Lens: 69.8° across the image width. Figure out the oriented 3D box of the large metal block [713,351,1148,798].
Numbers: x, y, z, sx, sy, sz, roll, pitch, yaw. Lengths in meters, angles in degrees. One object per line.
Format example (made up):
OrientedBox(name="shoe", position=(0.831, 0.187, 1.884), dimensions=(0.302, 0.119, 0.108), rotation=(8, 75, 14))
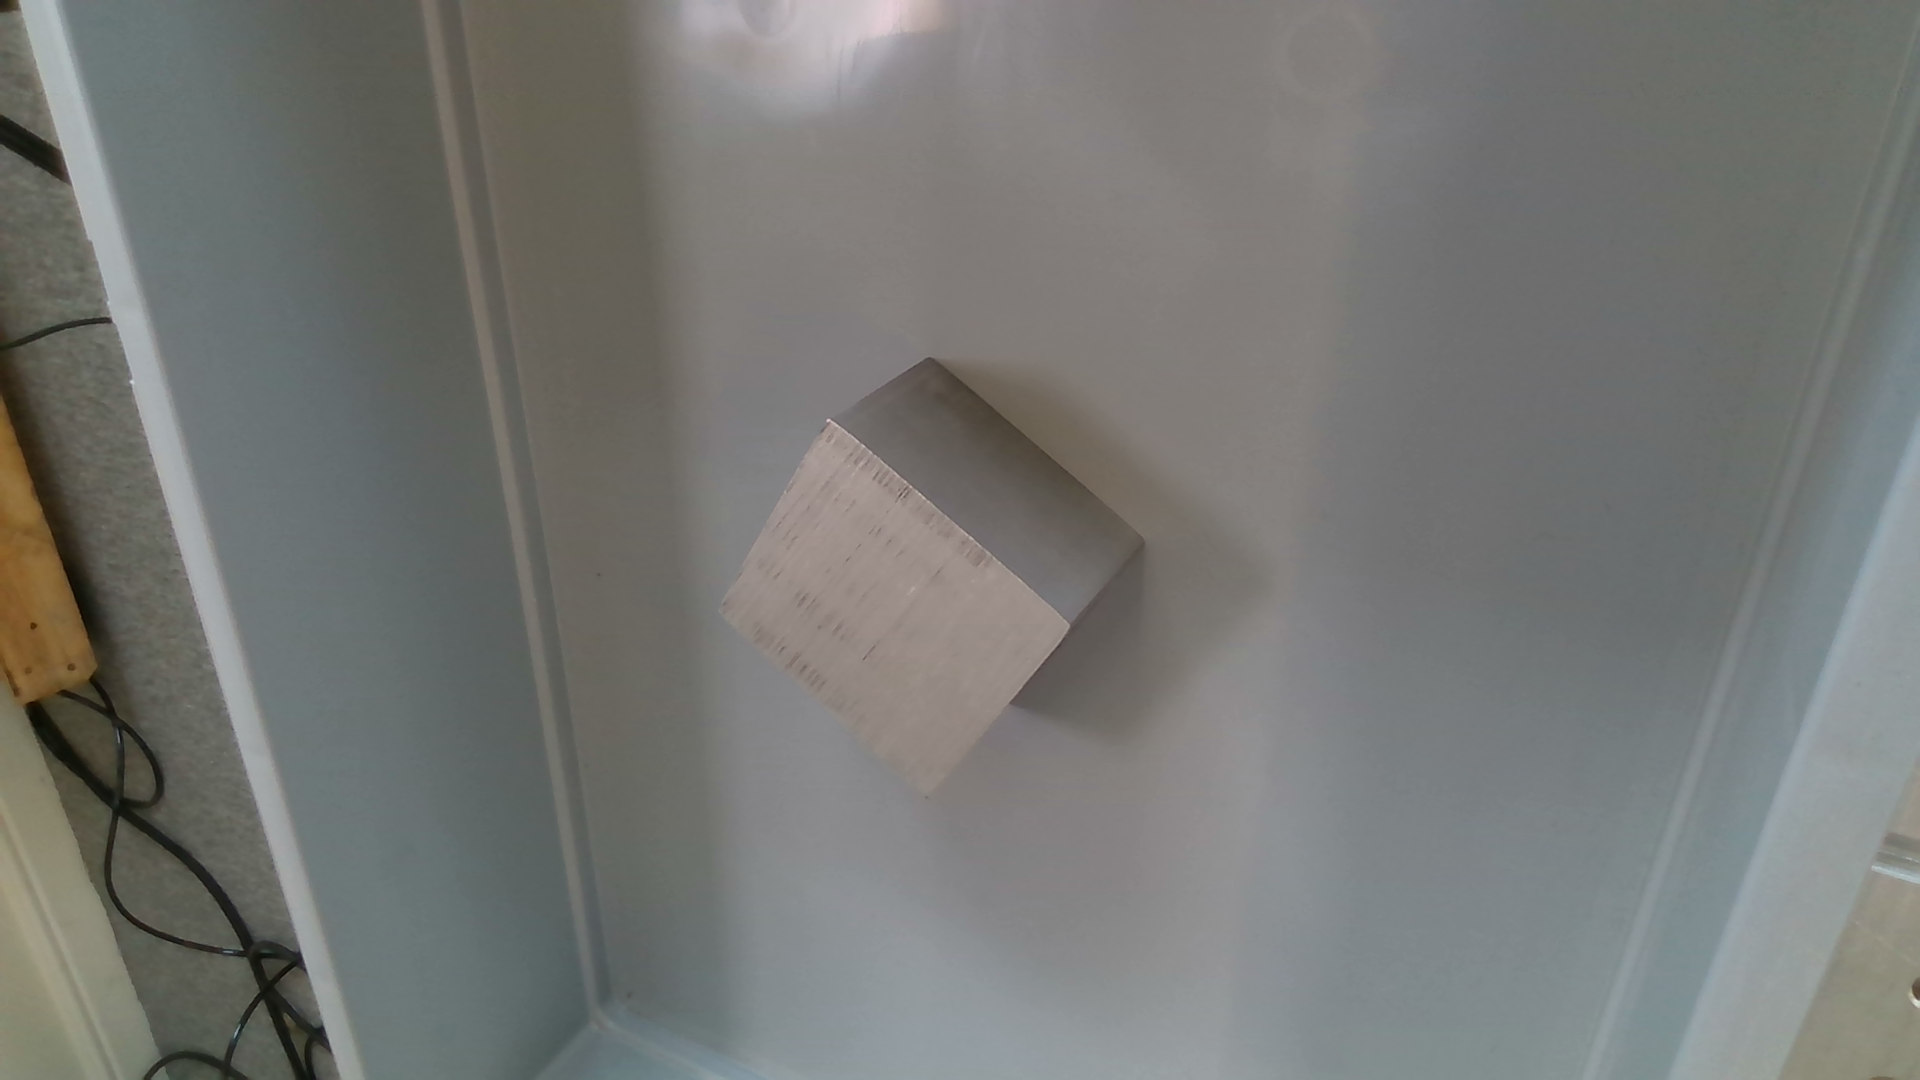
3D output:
OrientedBox(name="large metal block", position=(-0.010, 0.010, 0.380), dimensions=(0.080, 0.050, 0.080), rotation=(40, 129, 6))
